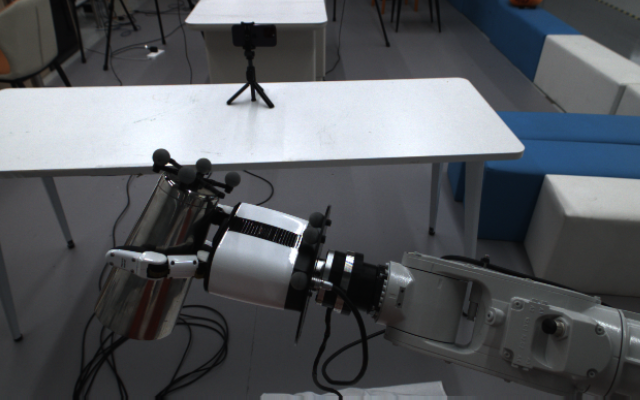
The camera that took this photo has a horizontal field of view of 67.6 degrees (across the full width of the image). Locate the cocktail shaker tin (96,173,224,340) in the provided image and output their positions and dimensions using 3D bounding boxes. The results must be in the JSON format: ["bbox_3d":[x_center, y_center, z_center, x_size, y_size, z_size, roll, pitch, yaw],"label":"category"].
[{"bbox_3d":[-0.171,0.057,0.536,0.093,0.170,0.093,24,12,-6],"label":"cocktail shaker tin"}]
